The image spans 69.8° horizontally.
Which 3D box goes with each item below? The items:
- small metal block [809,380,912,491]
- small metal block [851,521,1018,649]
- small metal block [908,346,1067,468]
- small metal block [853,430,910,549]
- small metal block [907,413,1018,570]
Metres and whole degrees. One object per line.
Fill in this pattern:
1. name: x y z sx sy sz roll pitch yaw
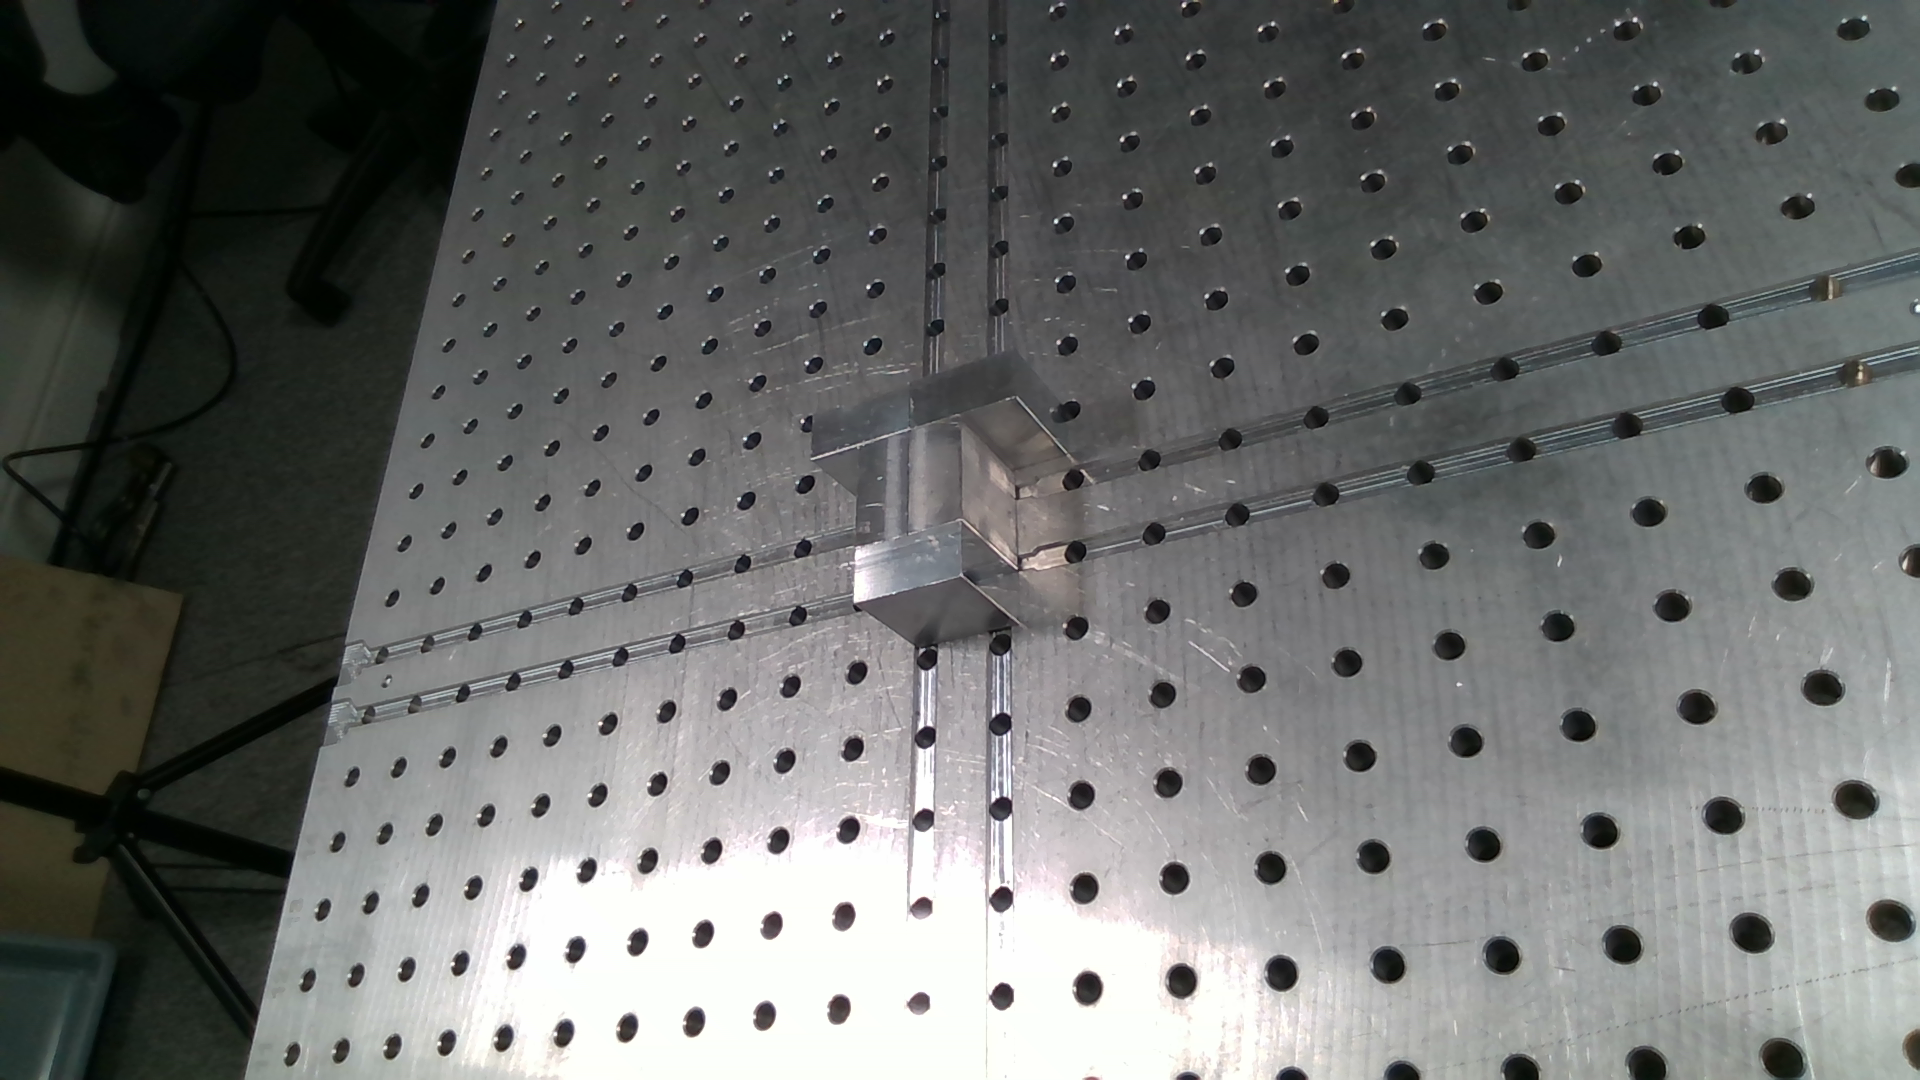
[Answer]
1. small metal block: -0.032 -0.041 0.613 0.050 0.050 0.025 -15 59 25
2. small metal block: -0.010 0.019 0.567 0.050 0.050 0.025 -15 59 25
3. small metal block: 0.012 -0.053 0.592 0.050 0.050 0.025 -15 59 25
4. small metal block: -0.021 -0.011 0.590 0.025 0.050 0.050 -15 59 25
5. small metal block: 0.001 -0.017 0.580 0.025 0.050 0.050 -15 59 25
